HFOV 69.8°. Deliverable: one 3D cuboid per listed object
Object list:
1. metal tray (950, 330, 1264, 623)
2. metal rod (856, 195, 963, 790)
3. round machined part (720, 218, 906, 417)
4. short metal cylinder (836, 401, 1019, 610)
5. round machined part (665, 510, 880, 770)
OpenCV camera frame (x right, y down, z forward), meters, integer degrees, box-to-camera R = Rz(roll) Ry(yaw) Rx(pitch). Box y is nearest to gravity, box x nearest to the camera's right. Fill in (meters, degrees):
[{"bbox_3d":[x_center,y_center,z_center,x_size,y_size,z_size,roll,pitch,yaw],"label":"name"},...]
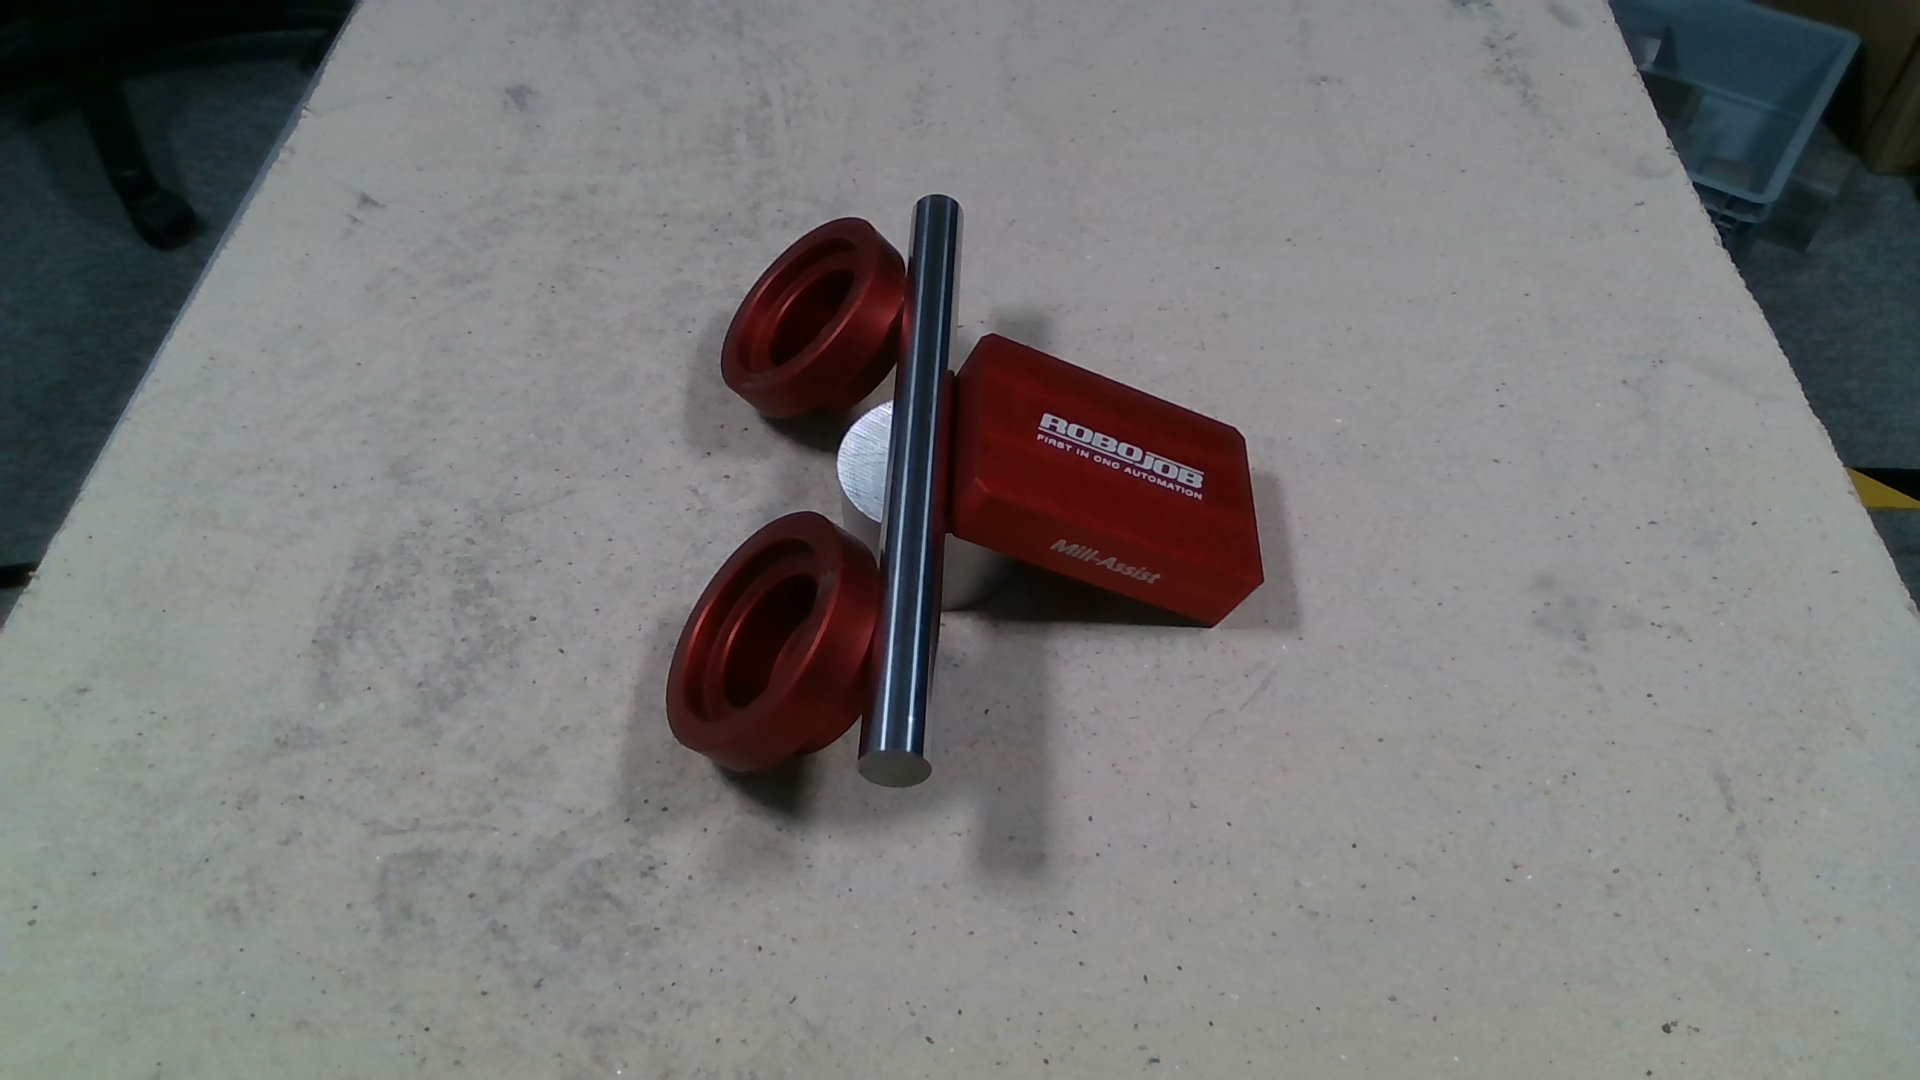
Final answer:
[{"bbox_3d":[0.060,-0.026,0.571,0.130,0.030,0.090,19,48,-19],"label":"metal tray"},{"bbox_3d":[-0.016,-0.038,0.554,0.025,0.025,0.299,2,50,1],"label":"metal rod"},{"bbox_3d":[-0.062,-0.098,0.637,0.098,0.042,0.098,-26,44,29],"label":"round machined part"},{"bbox_3d":[-0.011,-0.017,0.586,0.080,0.050,0.080,0,50,0],"label":"short metal cylinder"},{"bbox_3d":[-0.064,0.041,0.519,0.098,0.042,0.098,-31,41,31],"label":"round machined part"}]
